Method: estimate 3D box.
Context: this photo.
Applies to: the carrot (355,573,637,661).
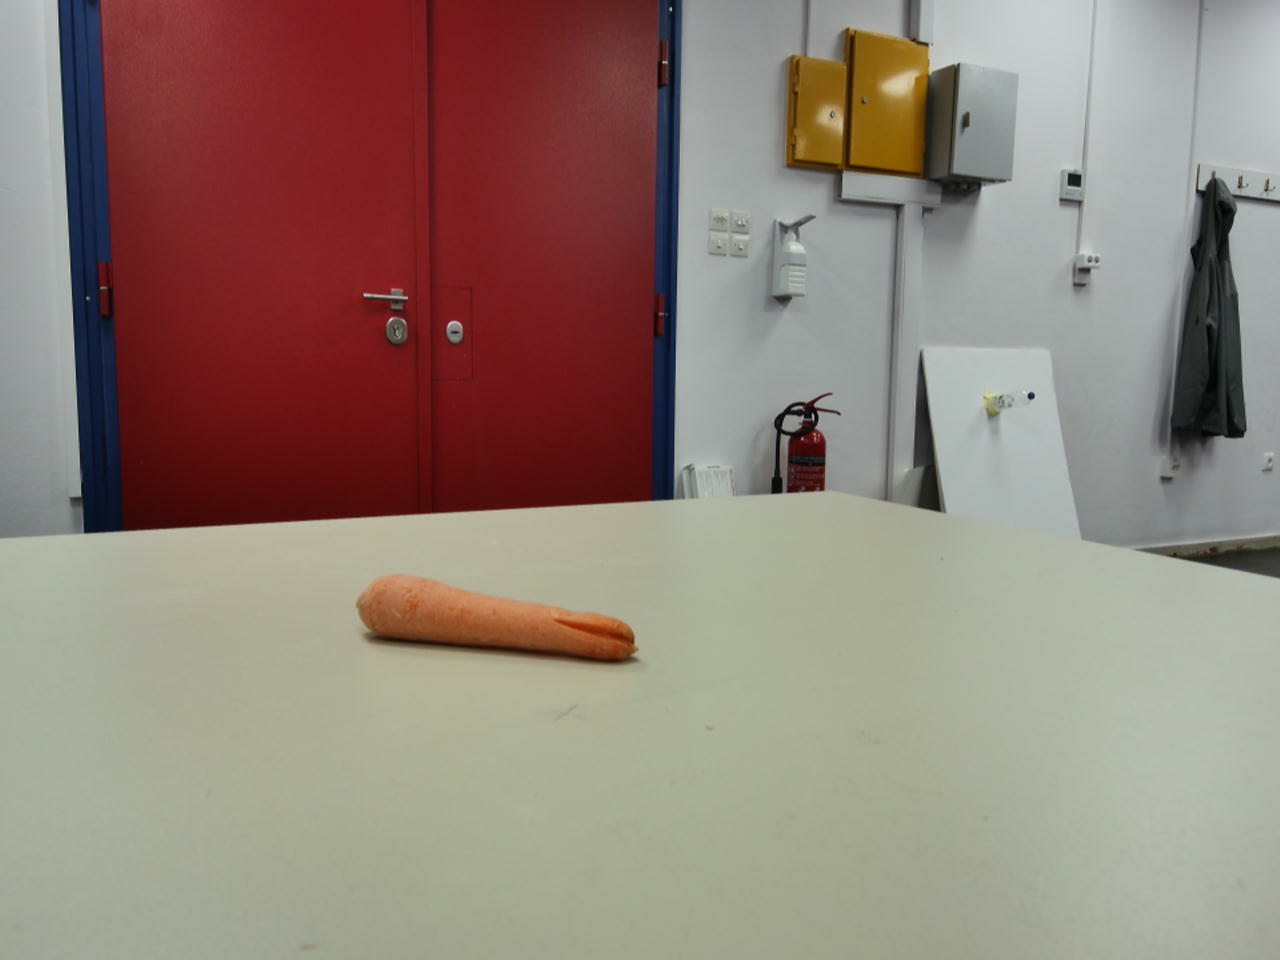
[{"bbox_3d":[-0.067,0.061,0.449,0.136,0.032,0.030,2,5,20],"label":"carrot"}]
